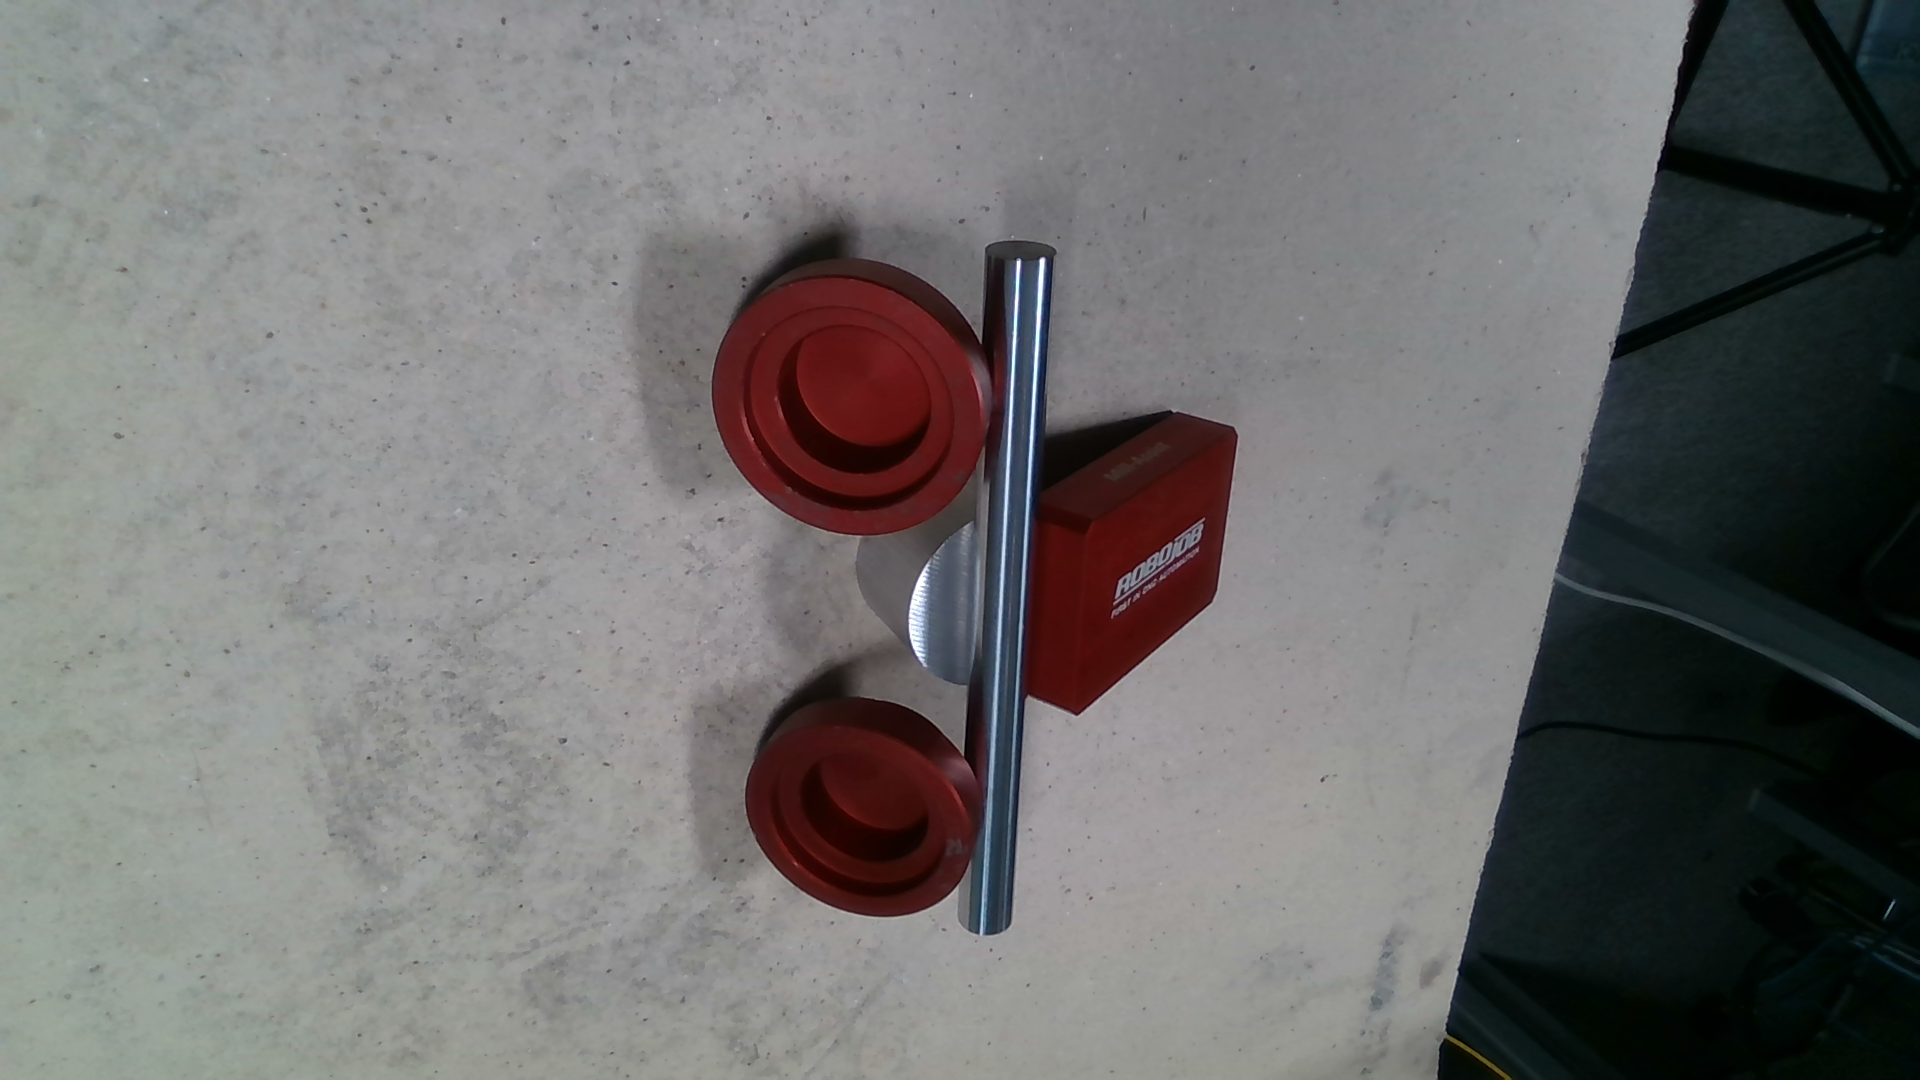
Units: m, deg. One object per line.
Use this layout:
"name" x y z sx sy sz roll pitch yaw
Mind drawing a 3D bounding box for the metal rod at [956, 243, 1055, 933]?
"metal rod" 0.016 0.033 0.545 0.025 0.025 0.301 -12 121 -26

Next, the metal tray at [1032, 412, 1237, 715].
"metal tray" 0.073 0.007 0.591 0.130 0.030 0.090 -32 132 -47

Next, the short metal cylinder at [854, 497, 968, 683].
"short metal cylinder" 0.003 0.013 0.574 0.080 0.050 0.080 -14 122 -25

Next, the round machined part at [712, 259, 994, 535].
"round machined part" -0.036 -0.054 0.498 0.098 0.042 0.098 5 119 9

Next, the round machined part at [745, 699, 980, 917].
"round machined part" -0.038 0.108 0.583 0.098 0.042 0.098 7 118 12
